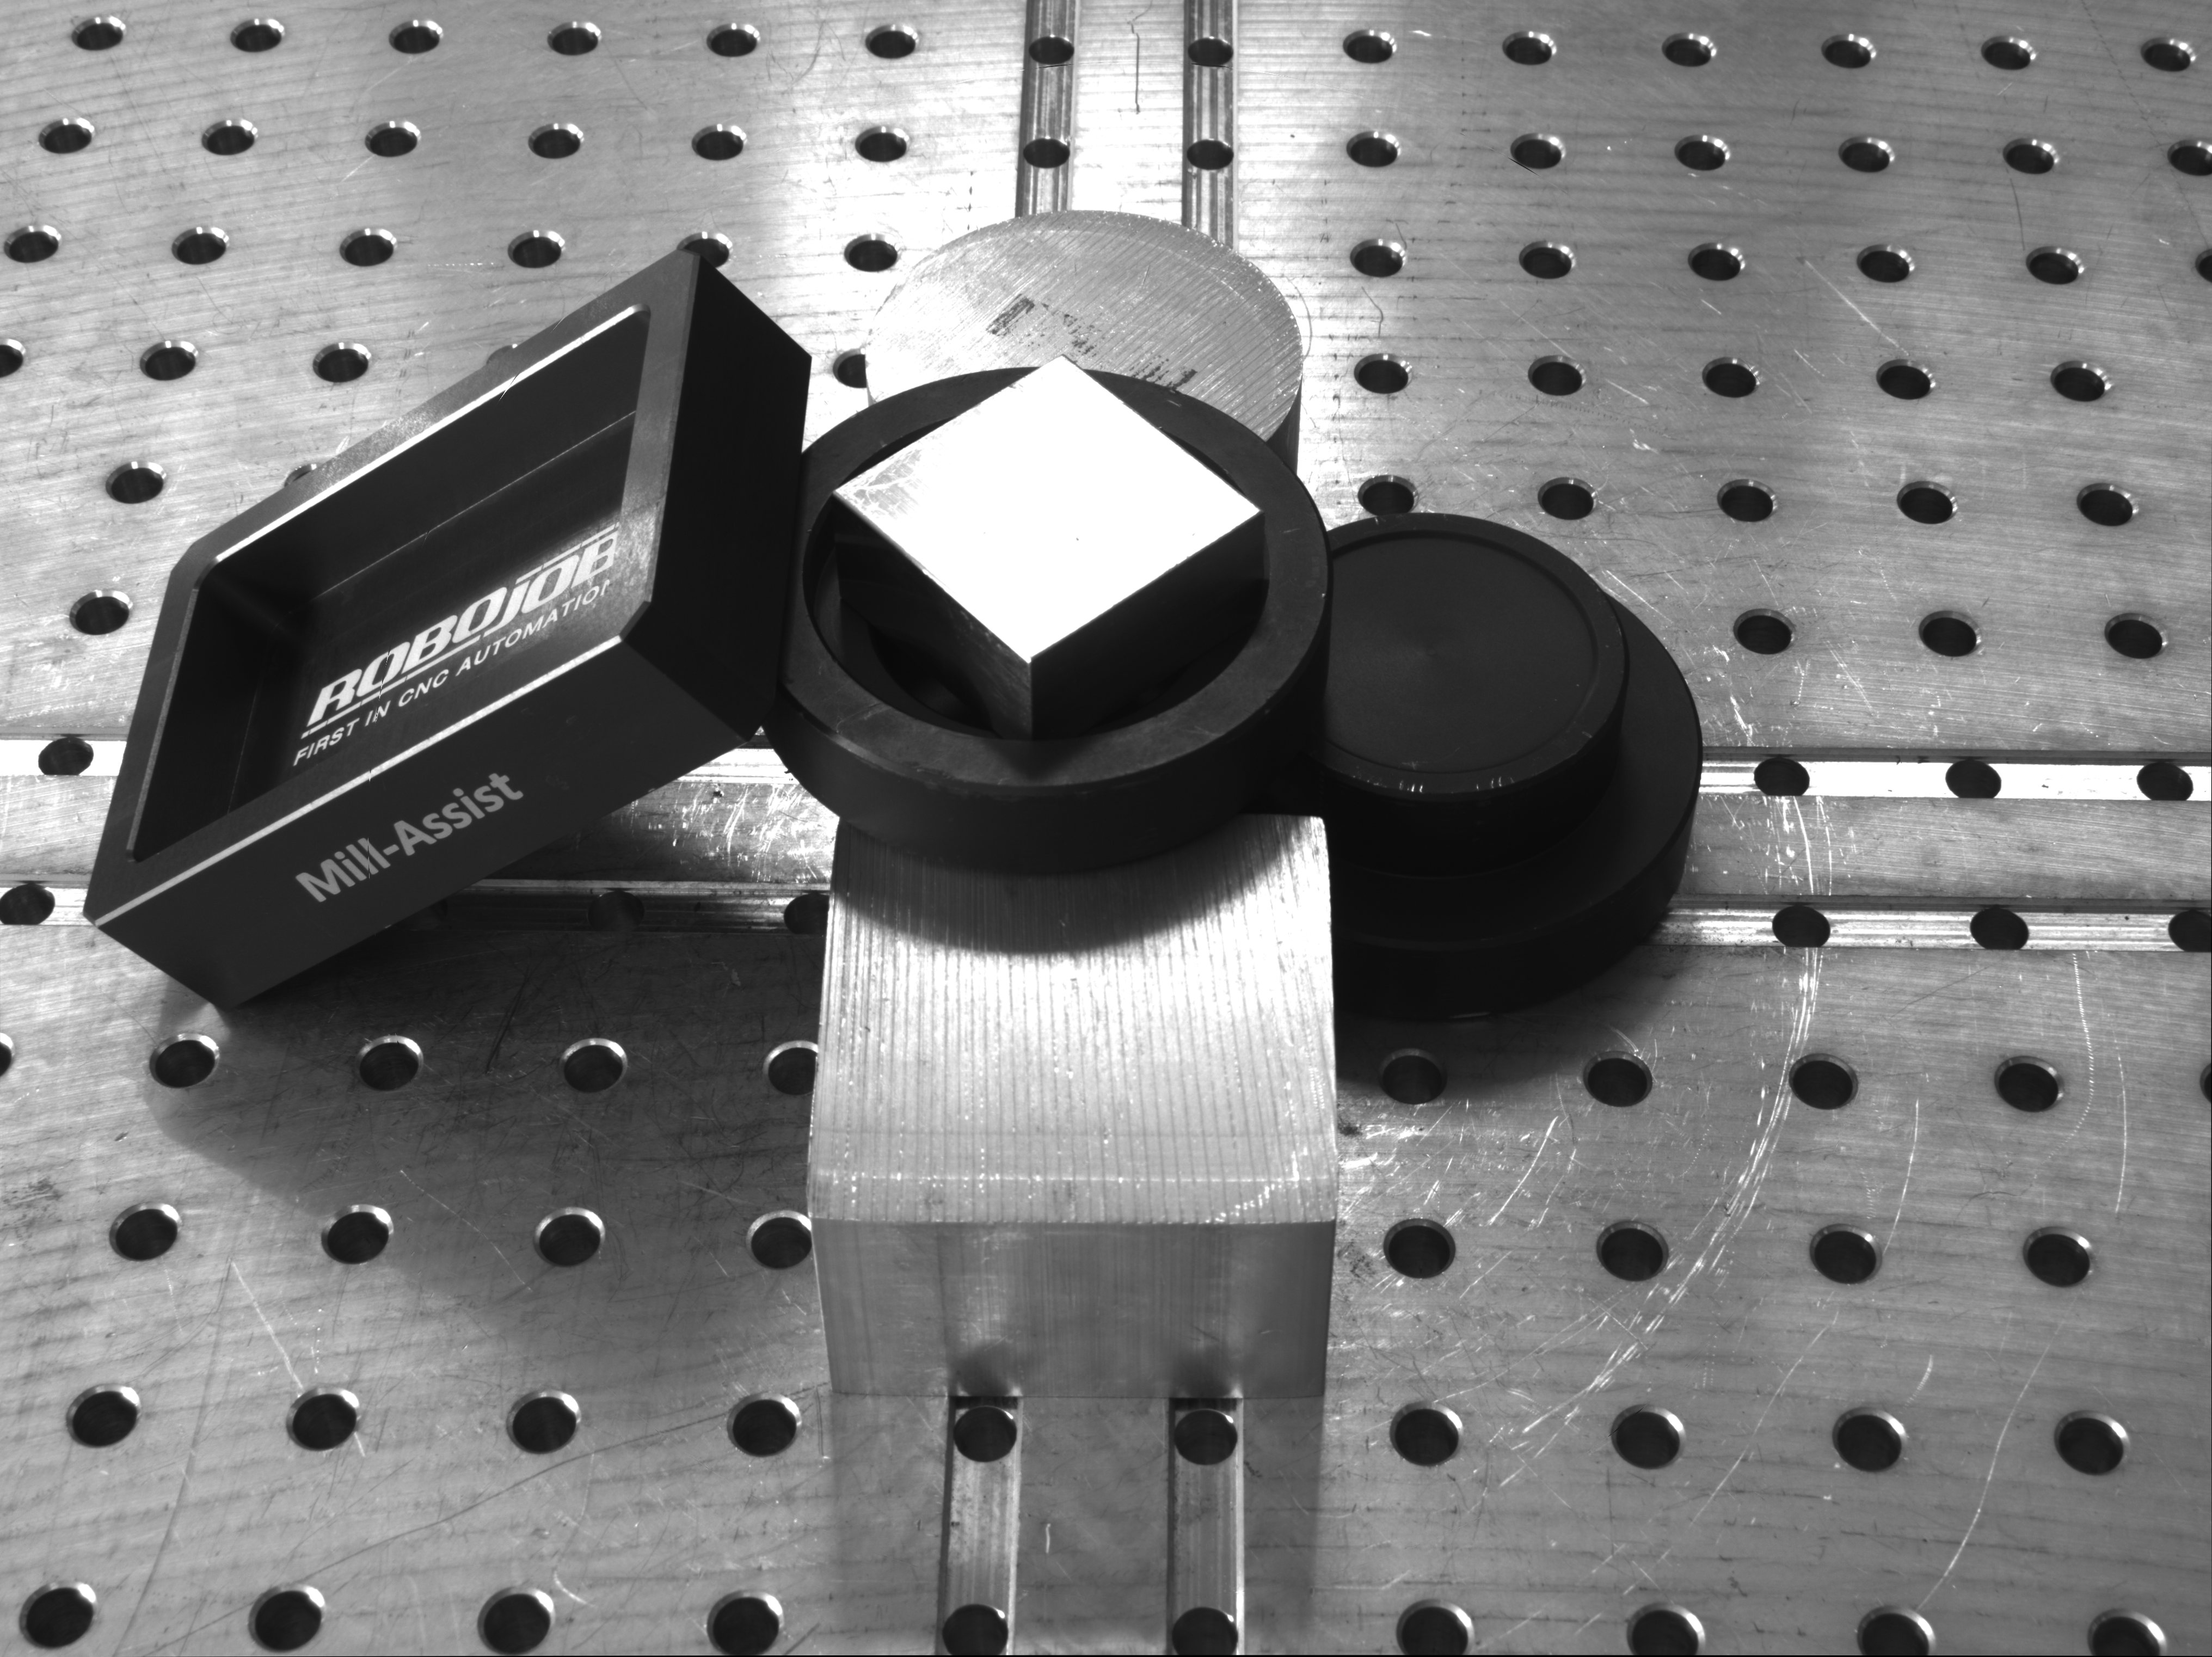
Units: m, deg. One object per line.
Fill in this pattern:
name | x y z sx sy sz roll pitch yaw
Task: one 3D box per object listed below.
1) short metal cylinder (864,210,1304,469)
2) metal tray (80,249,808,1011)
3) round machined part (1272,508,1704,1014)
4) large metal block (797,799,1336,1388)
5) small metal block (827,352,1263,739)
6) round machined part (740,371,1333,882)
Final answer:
short metal cylinder | -0.004 -0.070 0.687 0.080 0.050 0.080 0 50 0
metal tray | -0.112 -0.033 0.622 0.130 0.030 0.090 -25 43 28
round machined part | 0.057 -0.018 0.648 0.098 0.042 0.098 0 50 0
large metal block | -0.005 0.042 0.590 0.080 0.050 0.080 1 50 1
small metal block | -0.010 -0.045 0.602 0.050 0.025 0.050 -34 58 -25
round machined part | -0.011 -0.029 0.621 0.098 0.042 0.098 0 50 0
